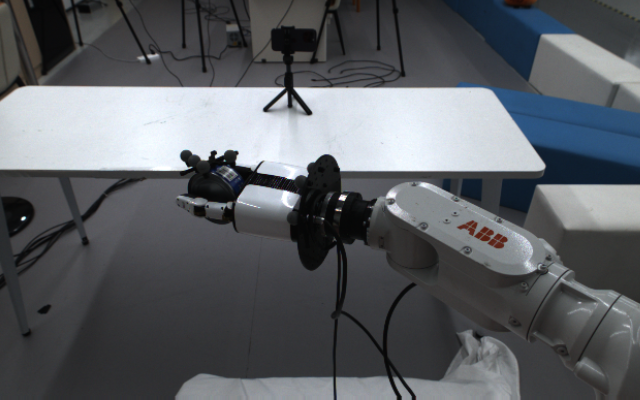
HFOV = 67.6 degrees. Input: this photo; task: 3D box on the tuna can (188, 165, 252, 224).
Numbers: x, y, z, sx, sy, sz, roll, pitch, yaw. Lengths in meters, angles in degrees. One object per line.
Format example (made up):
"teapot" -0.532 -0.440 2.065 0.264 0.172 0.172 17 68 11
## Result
"tuna can" -0.145 -0.009 0.700 0.085 0.085 0.034 17 35 20
